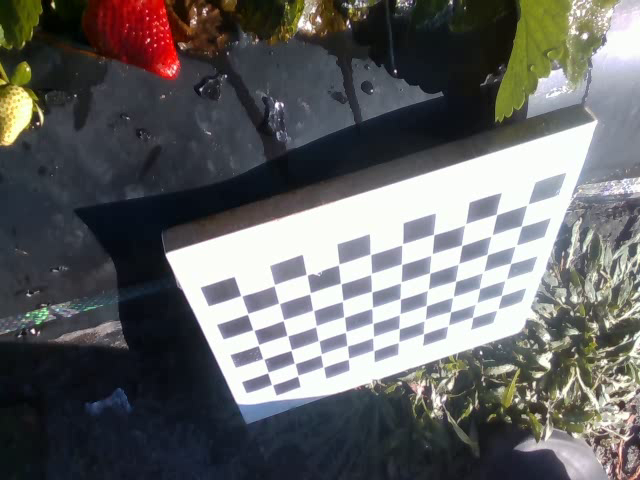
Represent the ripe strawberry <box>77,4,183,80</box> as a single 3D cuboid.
[{"bbox_3d":[-0.076,-0.087,0.271,0.040,0.053,0.042,-43,-14,19],"label":"ripe strawberry"}]
